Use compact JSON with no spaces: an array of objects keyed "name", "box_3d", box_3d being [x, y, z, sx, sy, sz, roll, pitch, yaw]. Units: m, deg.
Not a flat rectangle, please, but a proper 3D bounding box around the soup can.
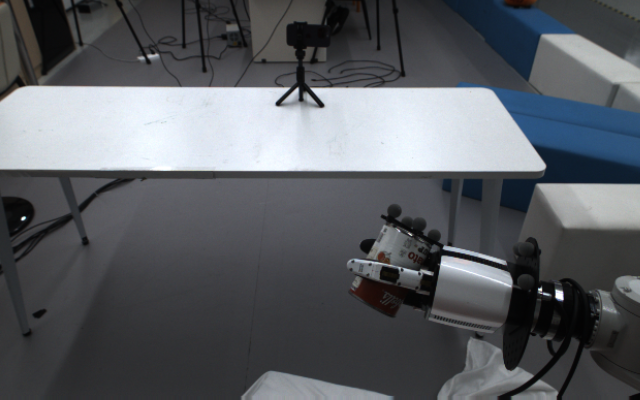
[{"name":"soup can","box_3d":[0.089,0.086,0.610,0.067,0.101,0.067,29,-3,2]}]
